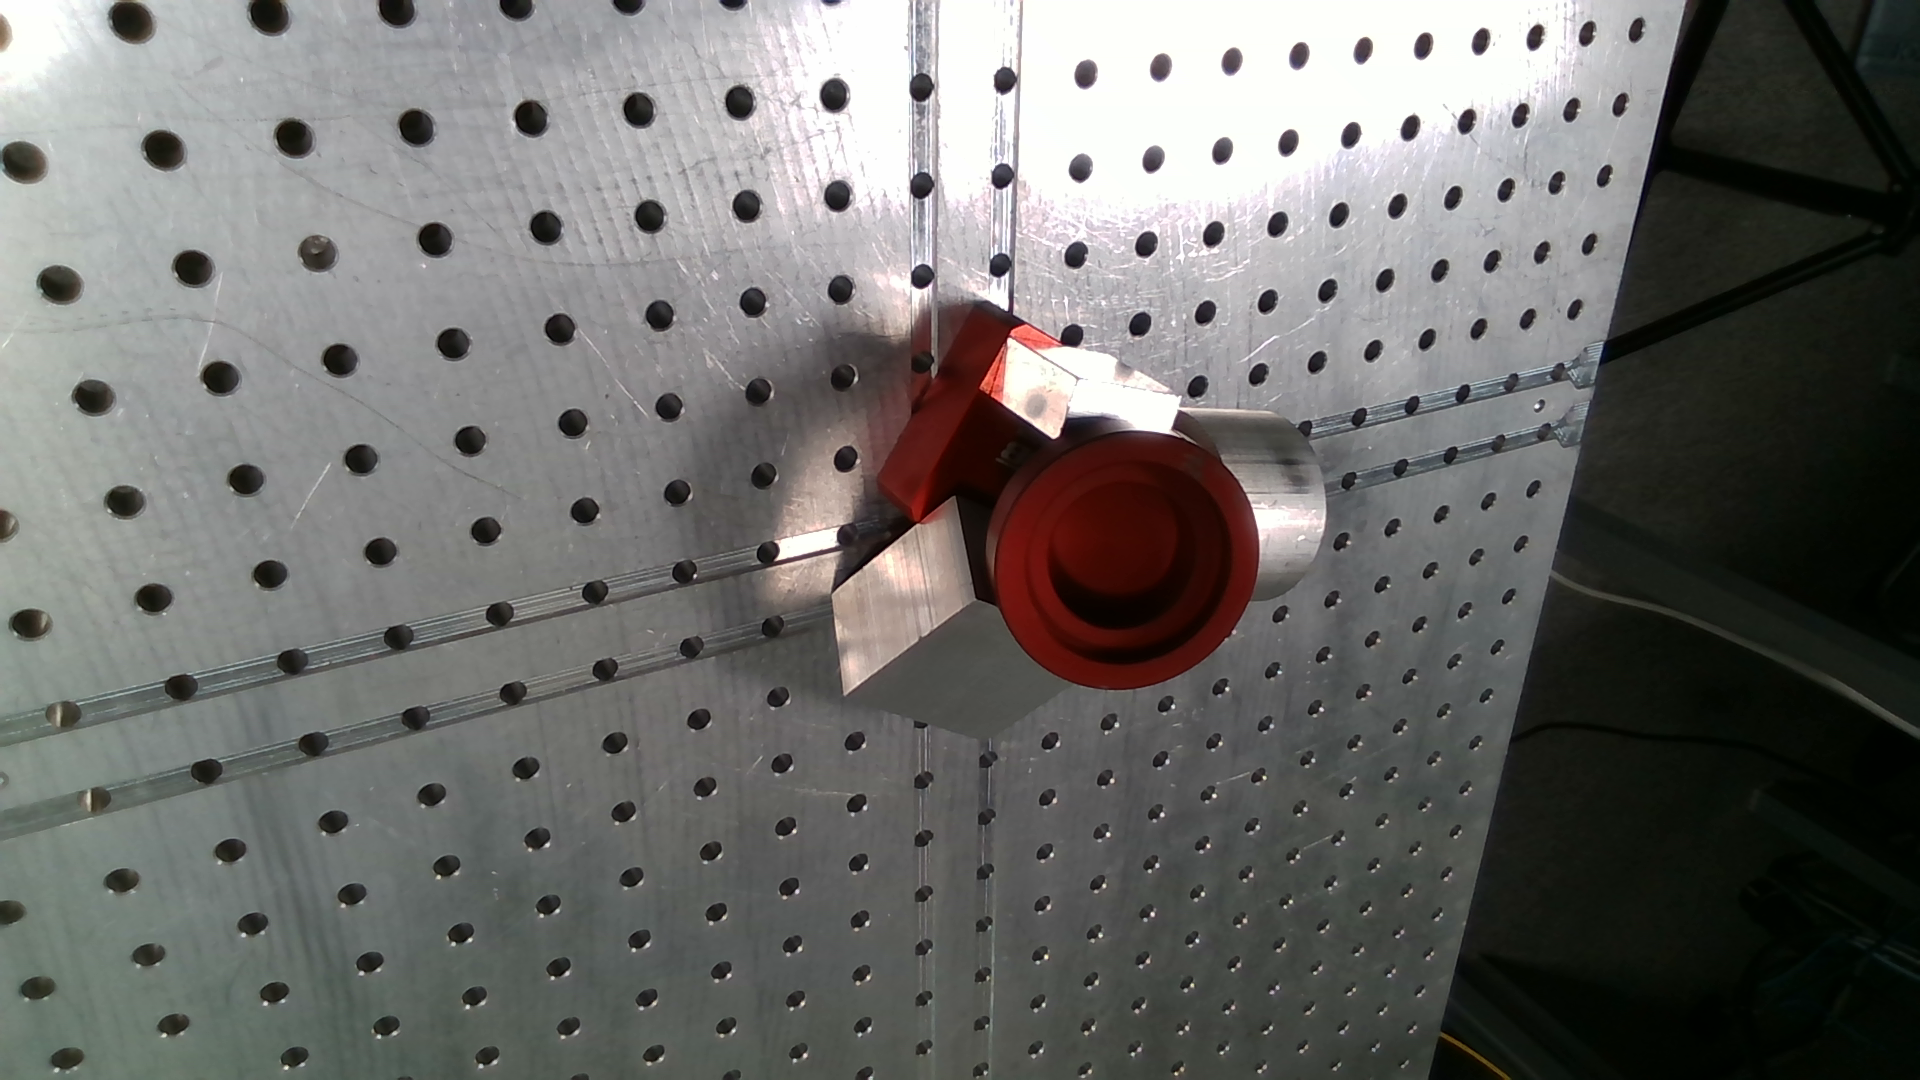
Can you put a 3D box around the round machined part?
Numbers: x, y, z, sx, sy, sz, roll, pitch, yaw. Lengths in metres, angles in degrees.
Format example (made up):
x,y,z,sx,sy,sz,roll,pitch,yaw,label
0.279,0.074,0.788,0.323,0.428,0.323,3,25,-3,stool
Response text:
x,y,z,sx,sy,sz,roll,pitch,yaw,label
0.058,0.002,0.513,0.098,0.042,0.098,-2,107,-8,round machined part

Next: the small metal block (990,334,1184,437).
x,y,z,sx,sy,sz,roll,pitch,yaw,label
0.048,-0.055,0.526,0.050,0.050,0.025,5,112,-33,small metal block

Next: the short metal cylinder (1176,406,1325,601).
x,y,z,sx,sy,sz,roll,pitch,yaw,label
0.102,-0.014,0.564,0.050,0.080,0.080,-1,115,-31,short metal cylinder

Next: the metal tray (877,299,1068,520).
x,y,z,sx,sy,sz,roll,pitch,yaw,label
0.040,-0.034,0.587,0.130,0.030,0.090,23,101,-38,metal tray

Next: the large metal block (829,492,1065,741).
x,y,z,sx,sy,sz,roll,pitch,yaw,label
0.005,0.034,0.566,0.080,0.050,0.080,23,132,-38,large metal block
